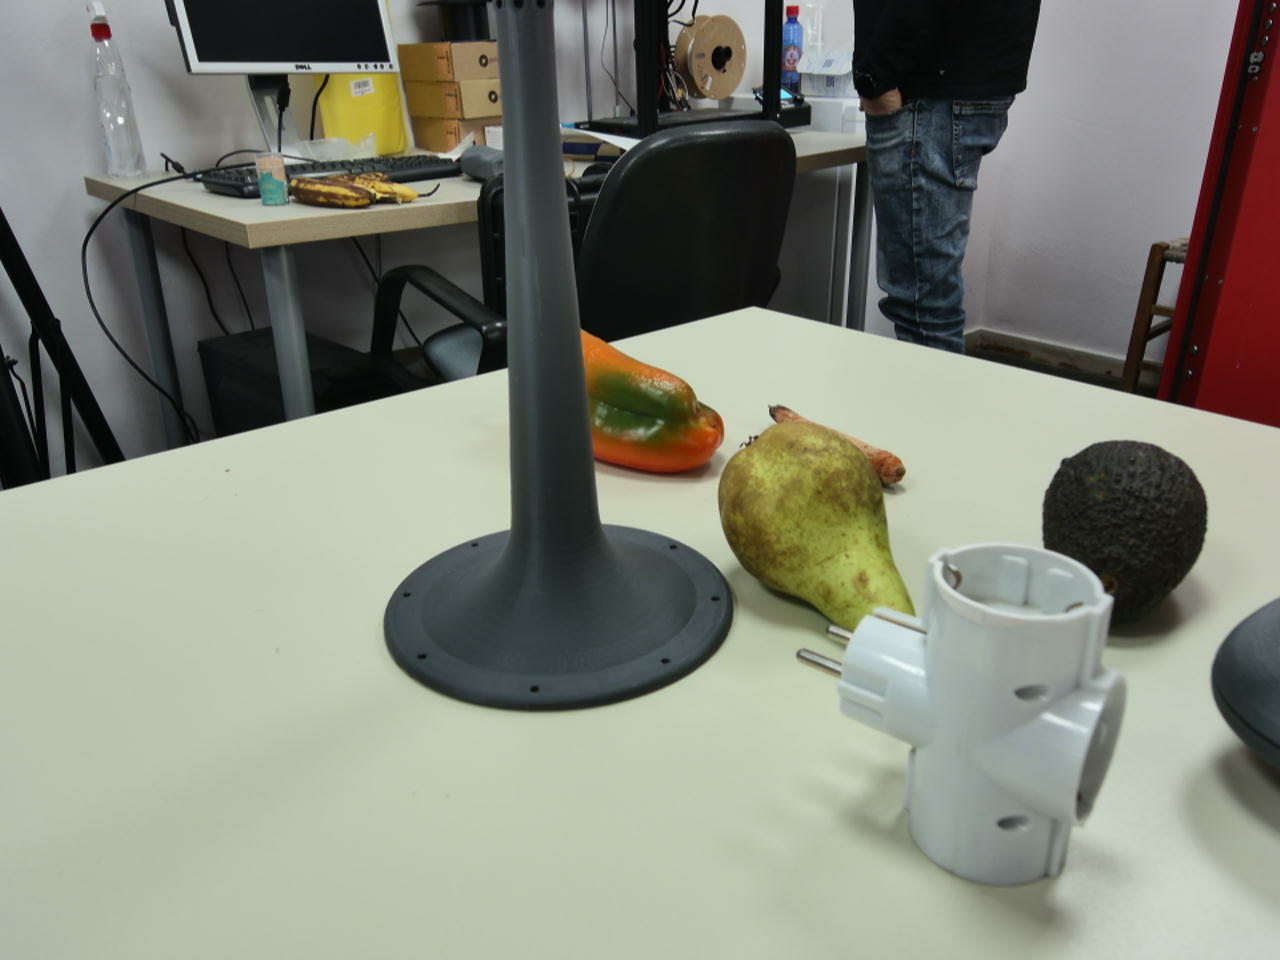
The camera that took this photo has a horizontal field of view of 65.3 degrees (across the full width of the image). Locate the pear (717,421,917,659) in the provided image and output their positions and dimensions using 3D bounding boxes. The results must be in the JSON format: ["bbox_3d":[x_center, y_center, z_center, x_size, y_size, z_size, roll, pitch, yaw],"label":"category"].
[{"bbox_3d":[0.089,0.023,0.420,0.071,0.075,0.144,-13,25,-29],"label":"pear"}]
